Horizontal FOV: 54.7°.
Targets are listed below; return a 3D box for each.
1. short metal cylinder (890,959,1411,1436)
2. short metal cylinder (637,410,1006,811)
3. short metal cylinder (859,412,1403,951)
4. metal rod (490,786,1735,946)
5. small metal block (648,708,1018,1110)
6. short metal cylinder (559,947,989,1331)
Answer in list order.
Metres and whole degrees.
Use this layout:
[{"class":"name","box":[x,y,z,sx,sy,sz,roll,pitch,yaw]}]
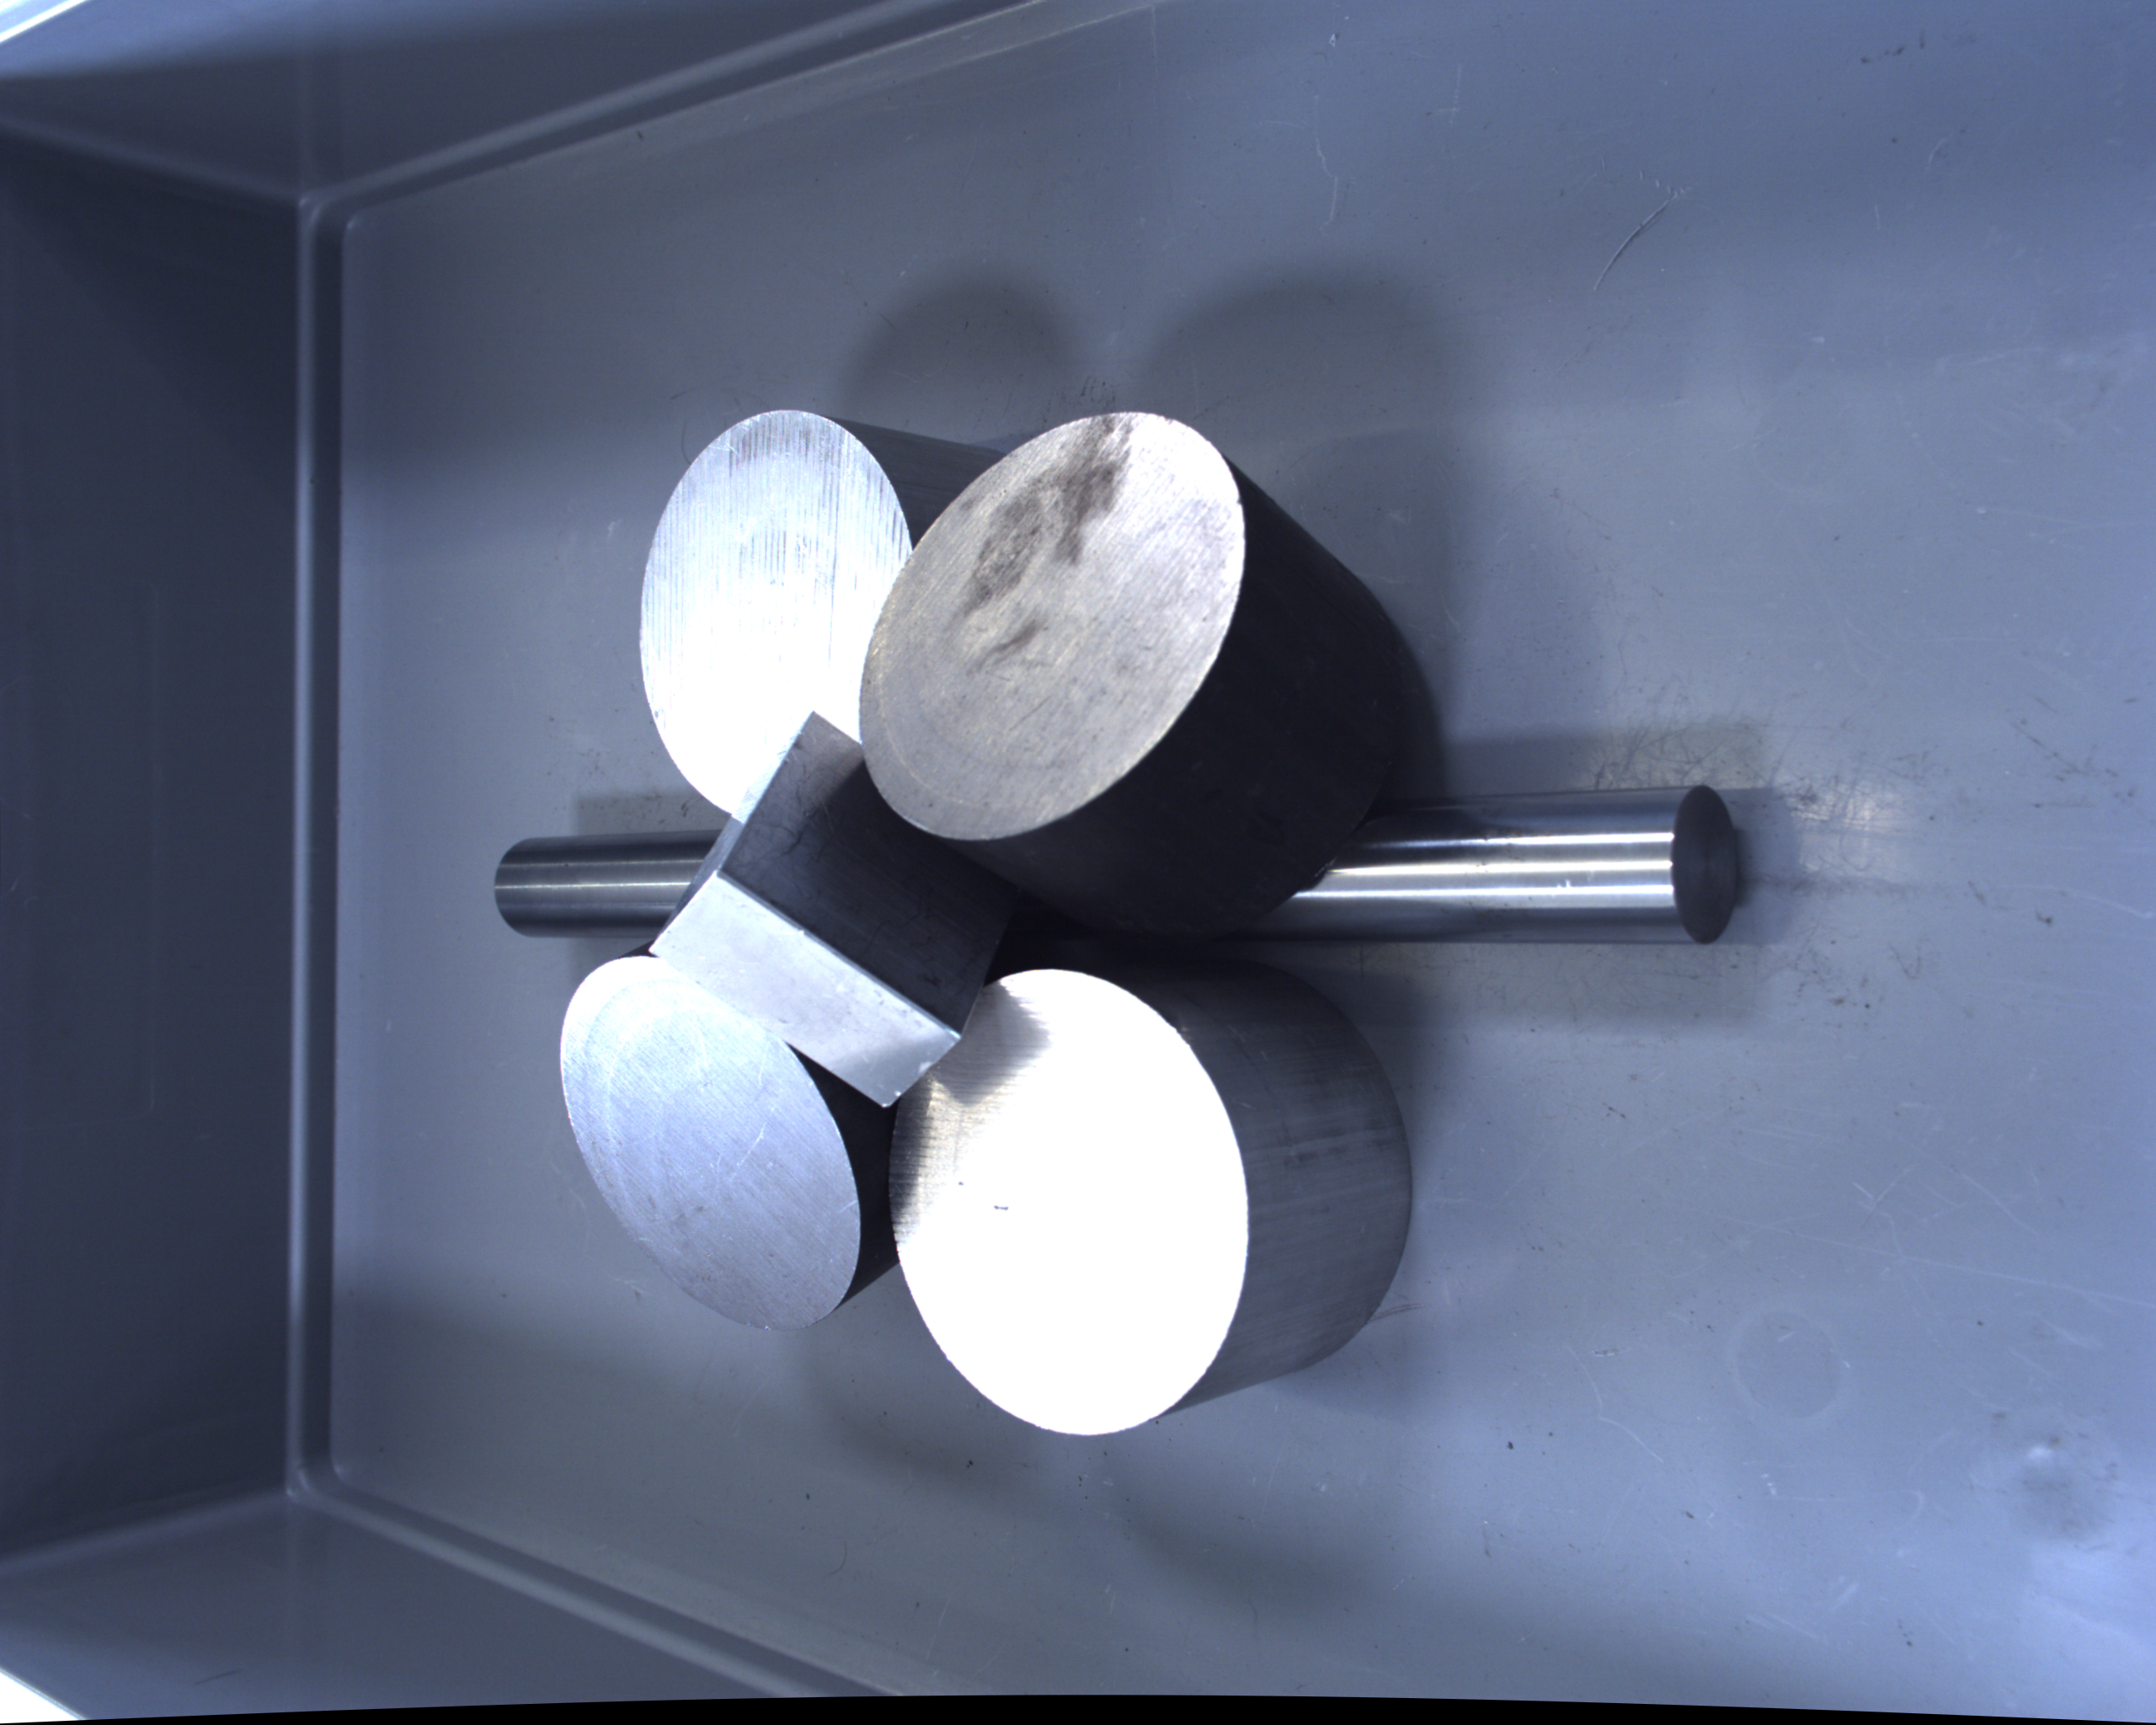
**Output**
[{"class":"short metal cylinder","box":[0.012,0.058,0.378,0.080,0.050,0.079,0,90,40]},{"class":"short metal cylinder","box":[-0.044,-0.048,0.424,0.080,0.050,0.079,0,90,40]},{"class":"short metal cylinder","box":[0.009,-0.031,0.364,0.080,0.050,0.080,-20,55,31]},{"class":"metal rod","box":[-0.019,0.004,0.419,0.300,0.025,0.025,-1,89,40]},{"class":"small metal block","box":[-0.041,0.008,0.376,0.050,0.050,0.025,36,128,-12]},{"class":"short metal cylinder","box":[-0.058,0.046,0.420,0.080,0.050,0.079,17,120,32]}]
